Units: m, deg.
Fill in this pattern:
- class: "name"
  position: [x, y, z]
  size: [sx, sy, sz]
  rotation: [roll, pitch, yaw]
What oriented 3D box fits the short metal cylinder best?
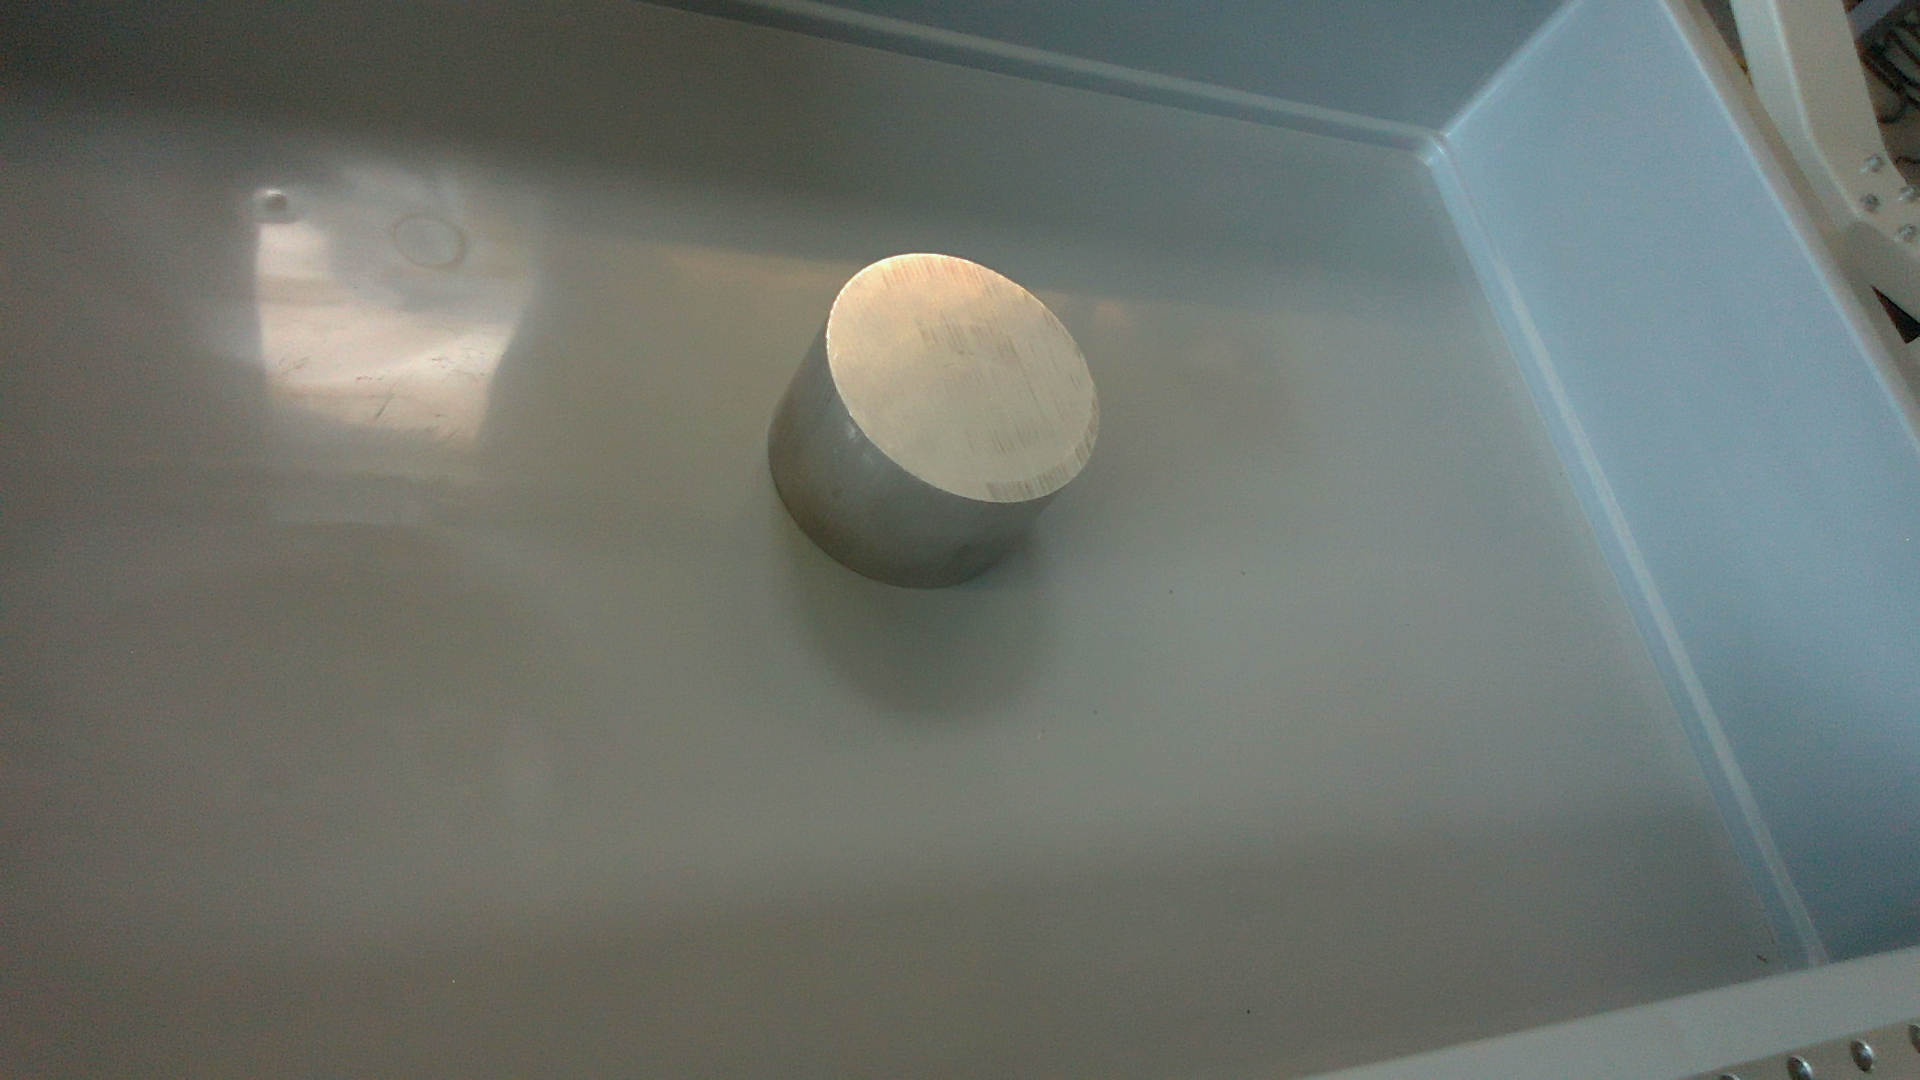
- class: "short metal cylinder"
  position: [-0.009, -0.033, 0.387]
  size: [0.080, 0.050, 0.080]
  rotation: [14, 56, -21]
